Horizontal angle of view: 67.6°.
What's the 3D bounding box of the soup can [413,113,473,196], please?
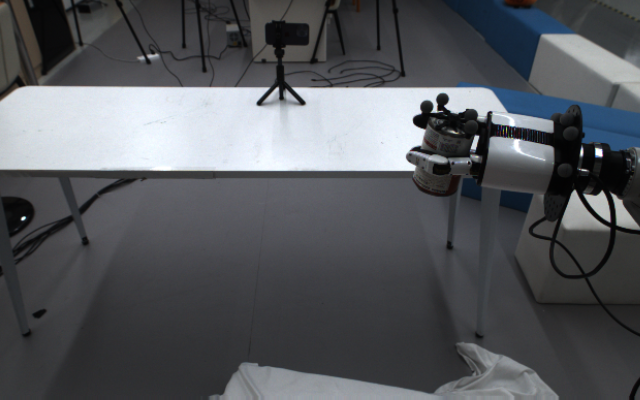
[{"bbox_3d":[0.177,-0.065,0.691,0.067,0.101,0.067,5,36,-3],"label":"soup can"}]
